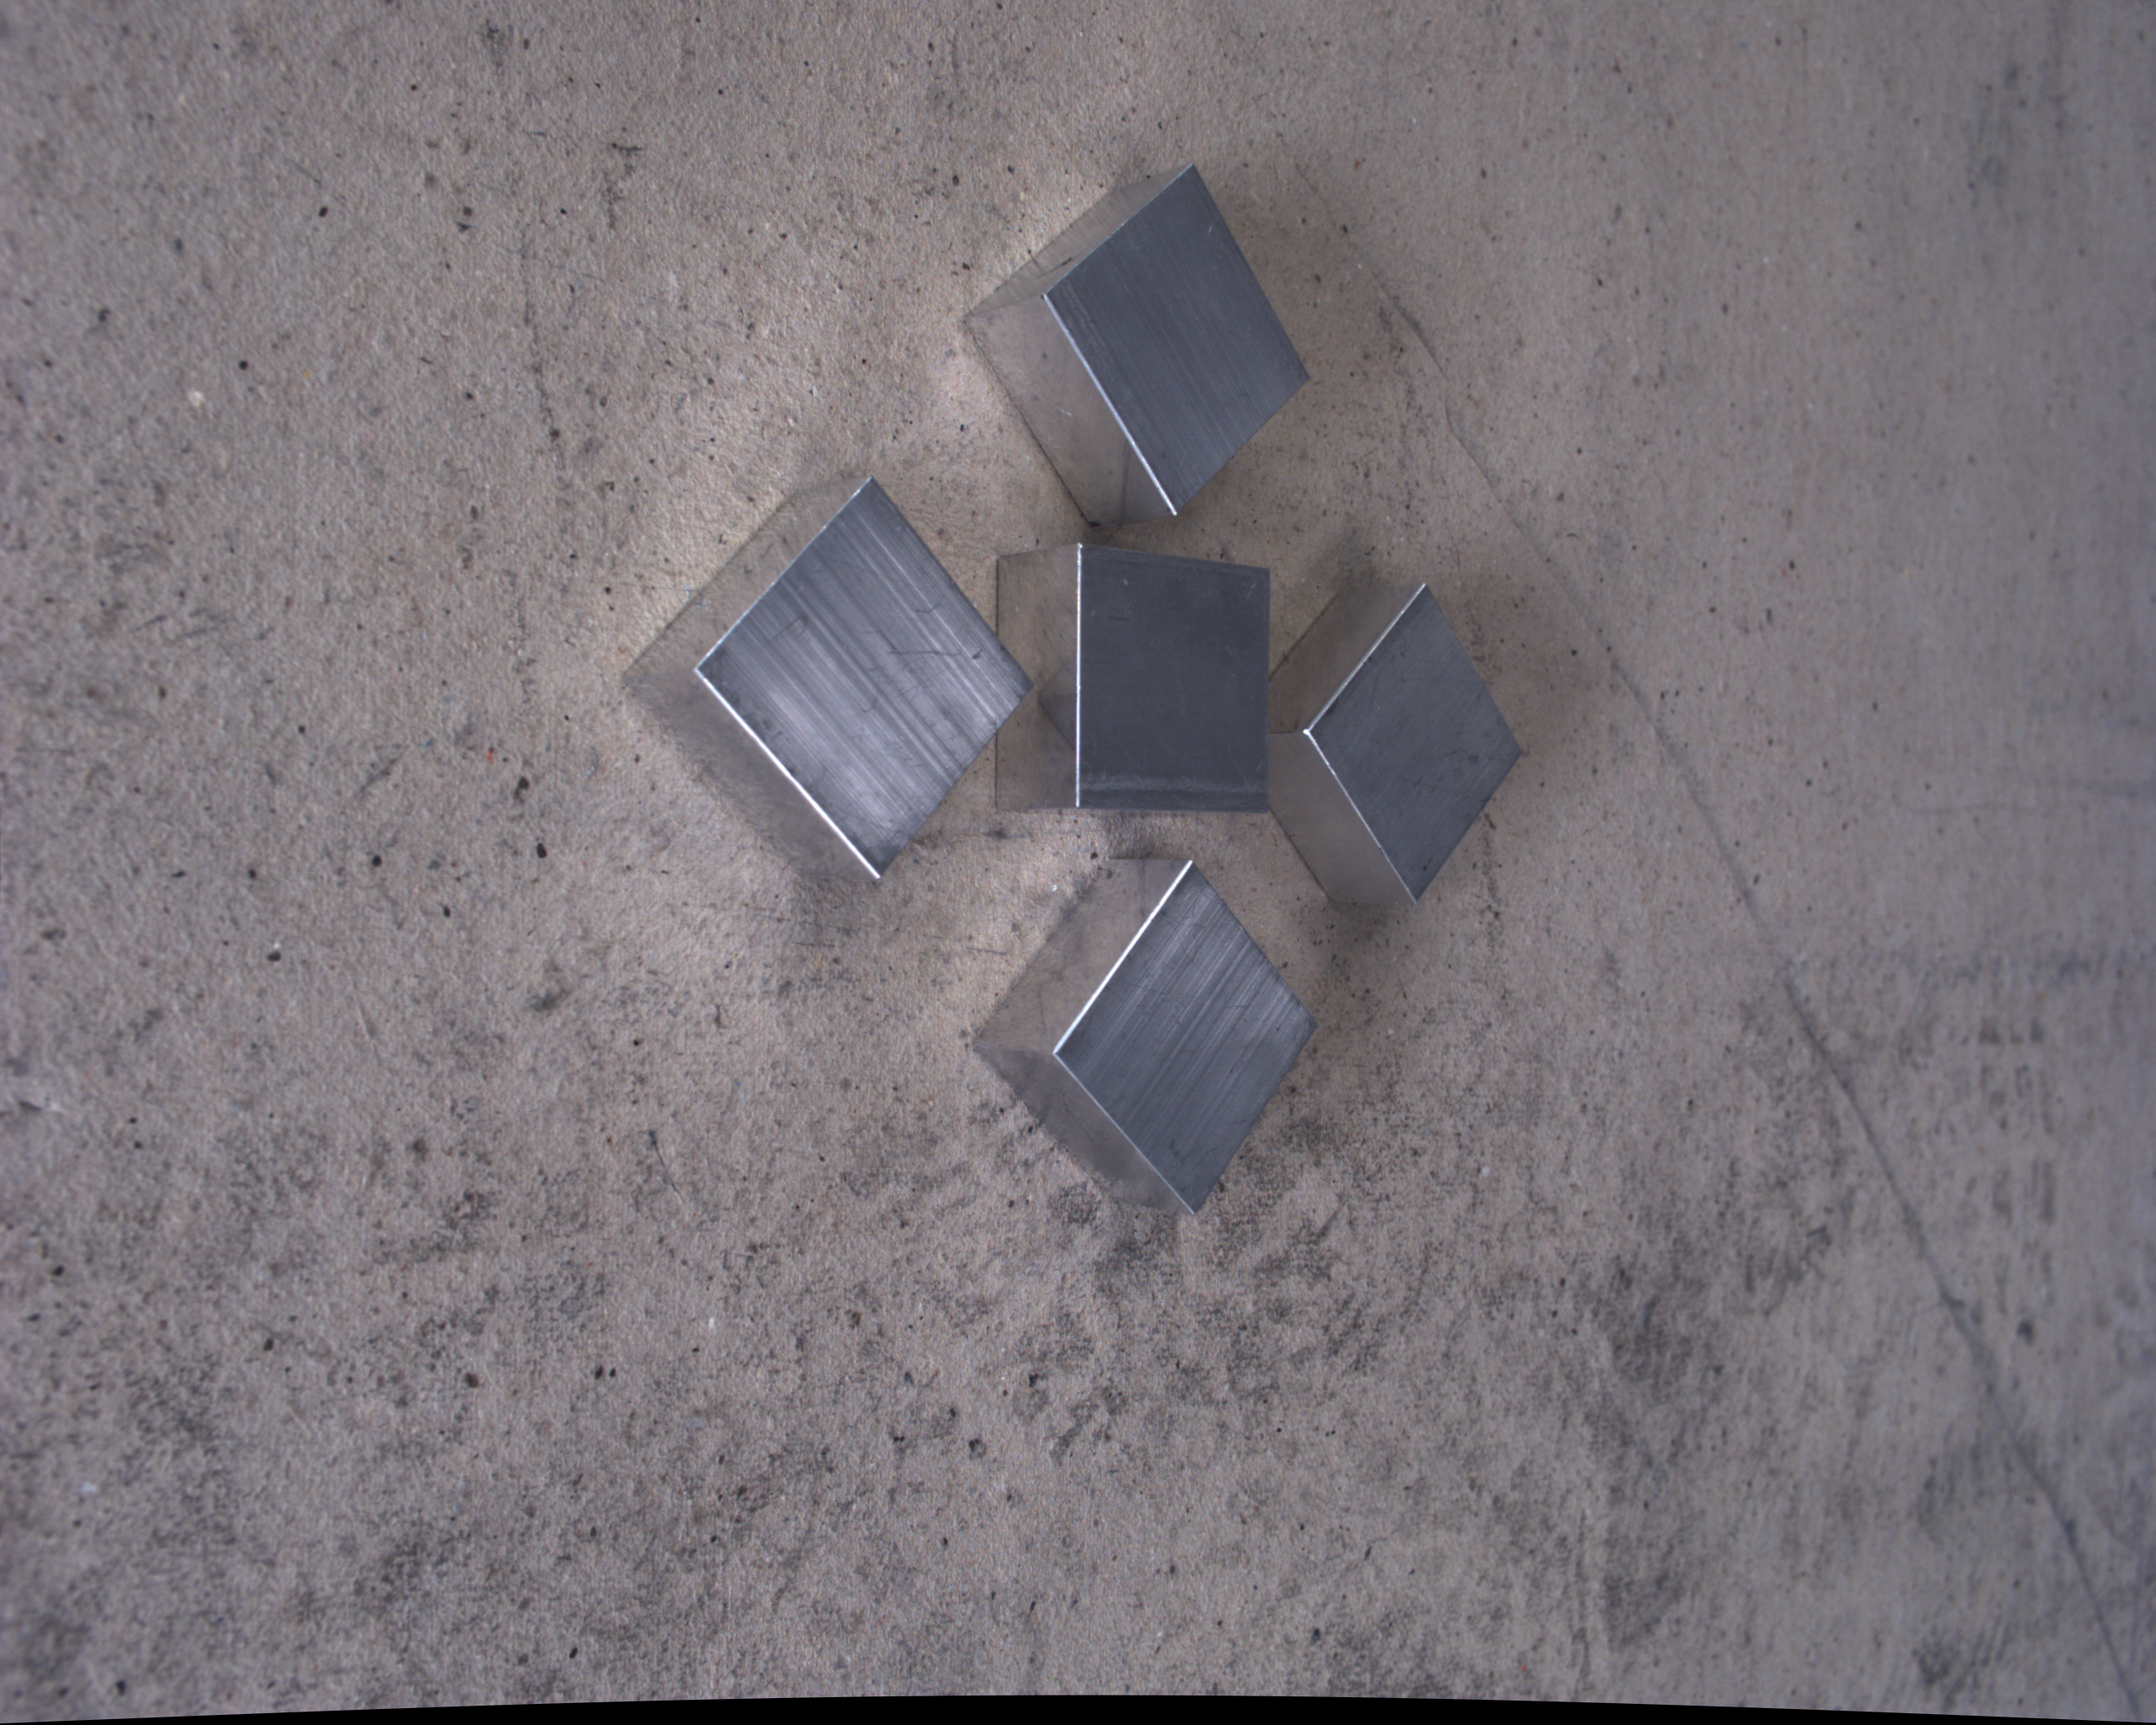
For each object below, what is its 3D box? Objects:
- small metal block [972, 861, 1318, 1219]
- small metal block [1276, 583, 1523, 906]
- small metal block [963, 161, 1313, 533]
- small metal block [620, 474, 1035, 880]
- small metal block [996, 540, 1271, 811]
[{"bbox_3d":[0.015,0.035,0.418,0.050,0.025,0.050,52,59,-28],"label":"small metal block"},{"bbox_3d":[0.066,-0.026,0.462,0.050,0.025,0.050,-51,120,-28],"label":"small metal block"},{"bbox_3d":[0.013,-0.102,0.416,0.050,0.025,0.050,-49,118,-29],"label":"small metal block"},{"bbox_3d":[-0.043,-0.032,0.370,0.050,0.025,0.050,51,59,-28],"label":"small metal block"},{"bbox_3d":[0.011,-0.035,0.415,0.050,0.025,0.050,0,90,-40],"label":"small metal block"}]
